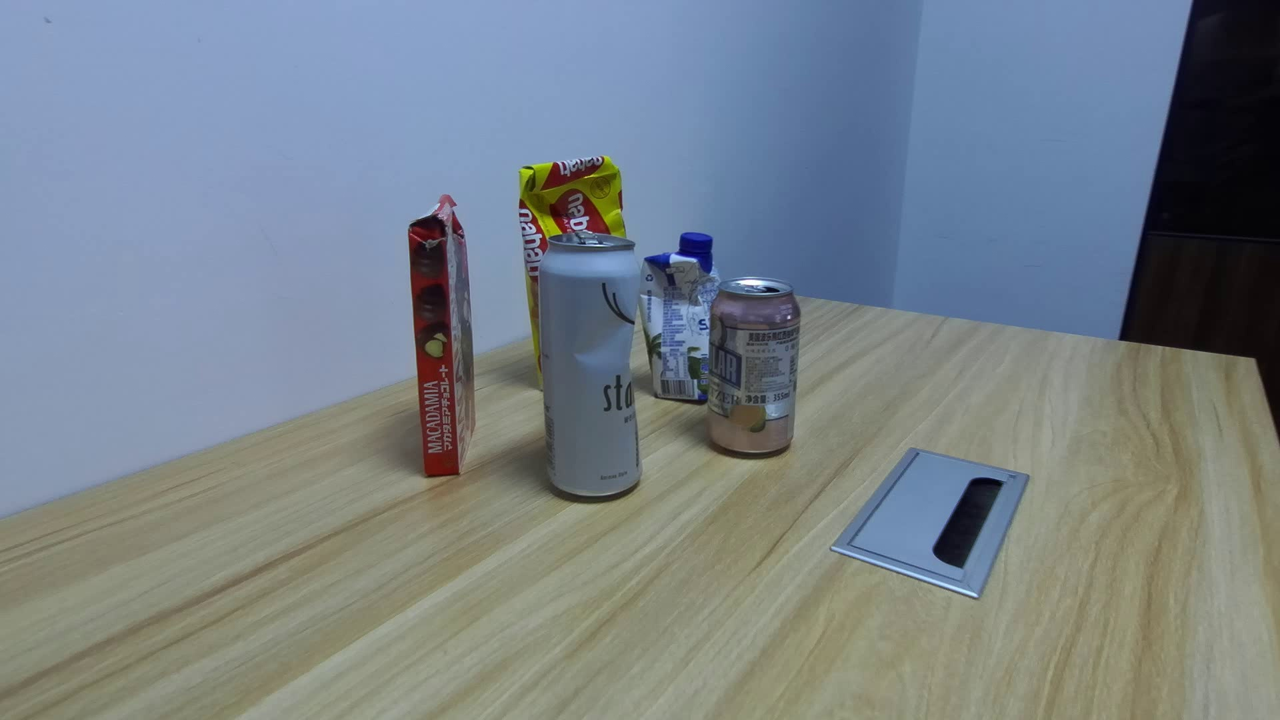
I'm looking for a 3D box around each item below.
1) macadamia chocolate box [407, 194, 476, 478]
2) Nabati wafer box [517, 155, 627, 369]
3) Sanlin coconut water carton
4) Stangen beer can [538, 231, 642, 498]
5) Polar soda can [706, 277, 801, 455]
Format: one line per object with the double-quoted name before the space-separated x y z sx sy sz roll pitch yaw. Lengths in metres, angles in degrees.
"macadamia chocolate box" -0.140 -0.020 0.514 0.027 0.187 0.102 1 19 -6
"Nabati wafer box" -0.055 -0.076 0.646 0.042 0.205 0.114 11 24 36
"Sanlin coconut water carton" 0.038 -0.039 0.631 0.068 0.144 0.057 -1 10 22
"Stangen beer can" -0.028 0.004 0.466 0.069 0.173 0.070 9 20 29
"Polar soda can" 0.084 0.005 0.527 0.067 0.125 0.067 -1 17 1
